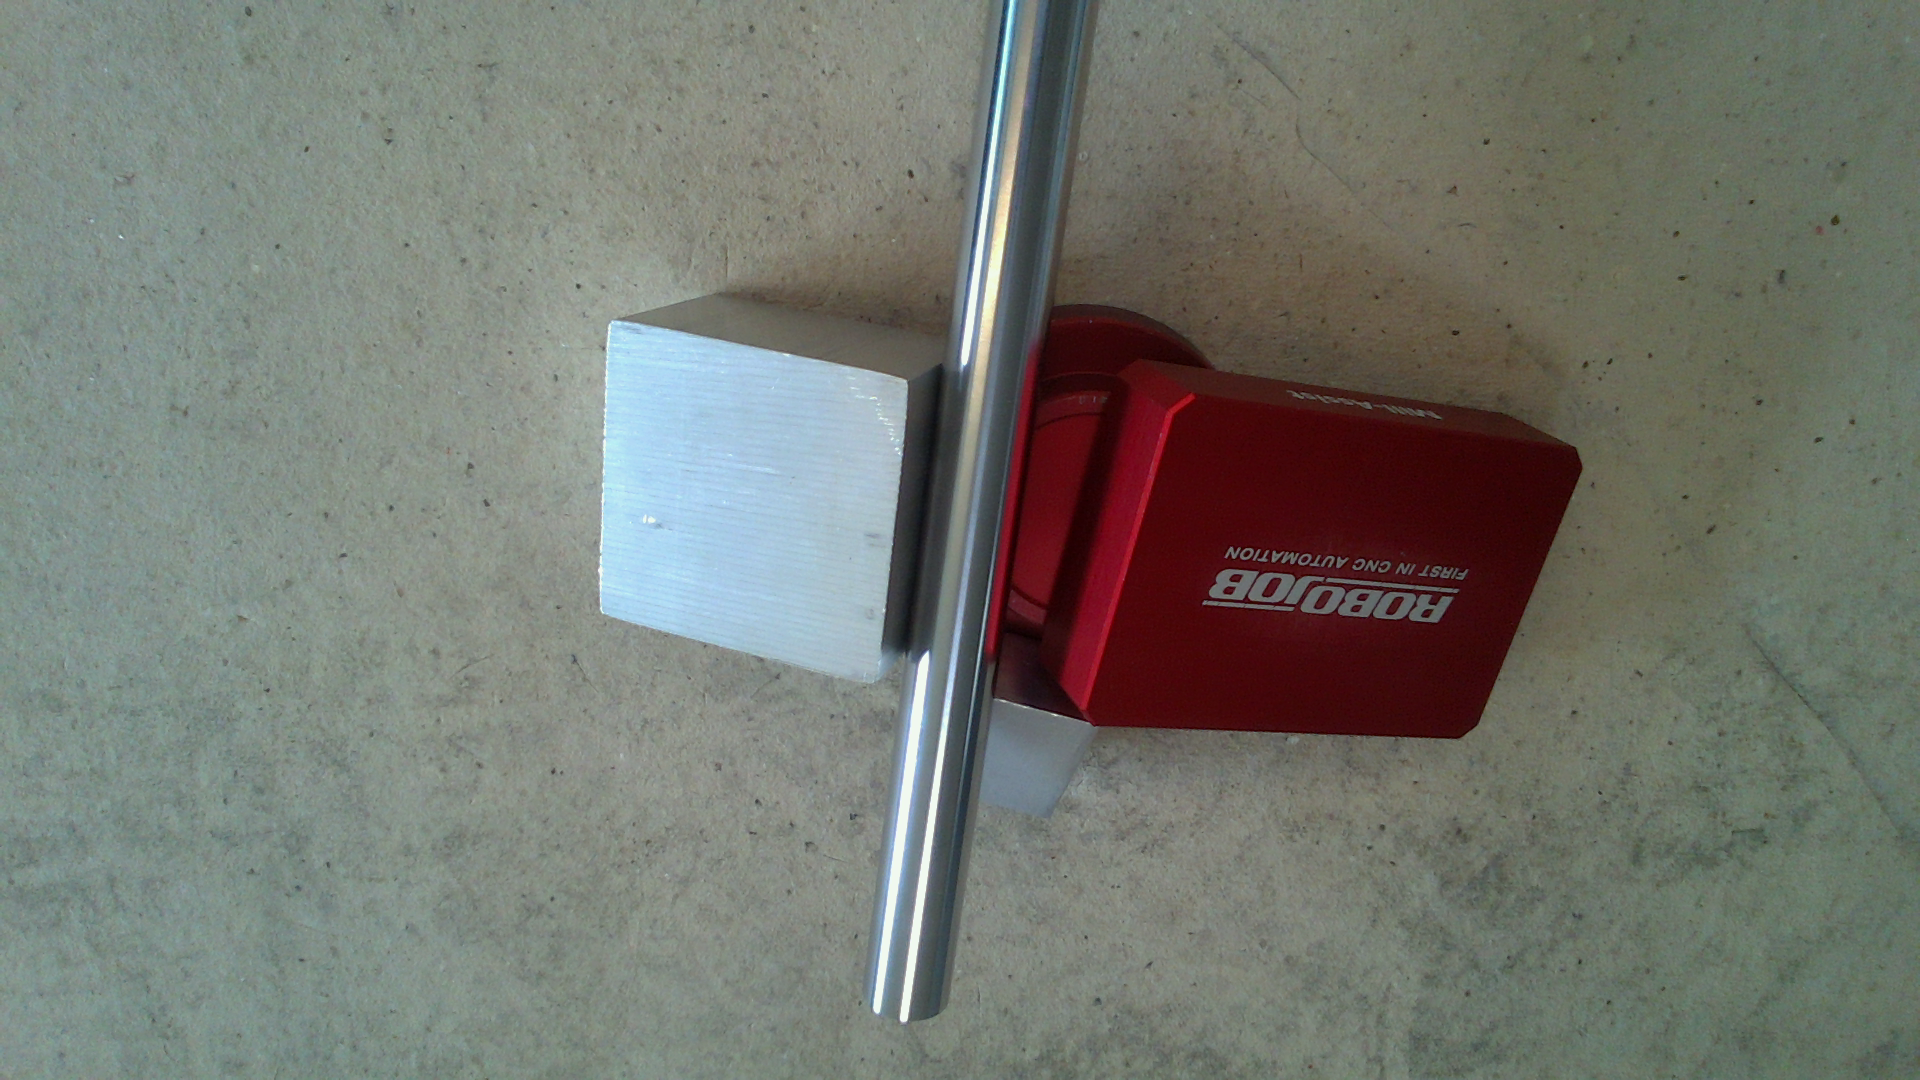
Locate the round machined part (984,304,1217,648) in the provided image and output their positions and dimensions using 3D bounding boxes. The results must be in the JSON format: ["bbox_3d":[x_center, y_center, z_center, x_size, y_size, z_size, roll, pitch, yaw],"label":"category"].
[{"bbox_3d":[0.035,-0.013,0.380,0.098,0.042,0.098,0,110,0],"label":"round machined part"}]

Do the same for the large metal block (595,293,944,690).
[{"bbox_3d":[-0.046,-0.016,0.363,0.080,0.050,0.080,13,111,14],"label":"large metal block"}]

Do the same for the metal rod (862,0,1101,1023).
[{"bbox_3d":[0.004,-0.012,0.345,0.025,0.025,0.300,7,108,-3],"label":"metal rod"}]

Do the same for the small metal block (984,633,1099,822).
[{"bbox_3d":[0.010,0.053,0.403,0.050,0.025,0.050,15,135,-5],"label":"small metal block"}]

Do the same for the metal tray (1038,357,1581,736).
[{"bbox_3d":[0.094,0.006,0.370,0.130,0.030,0.090,5,112,-24],"label":"metal tray"}]
